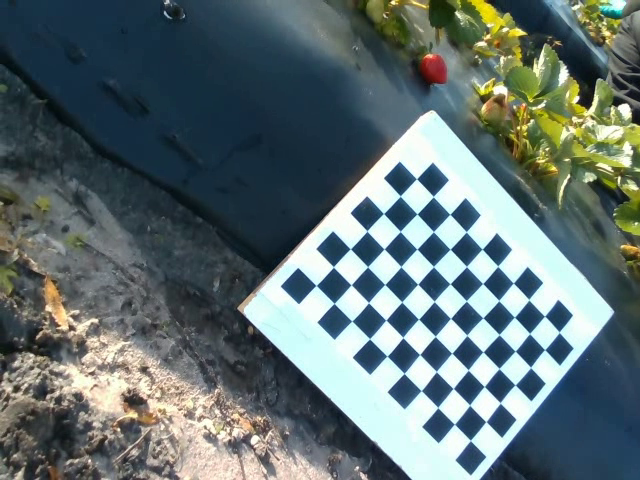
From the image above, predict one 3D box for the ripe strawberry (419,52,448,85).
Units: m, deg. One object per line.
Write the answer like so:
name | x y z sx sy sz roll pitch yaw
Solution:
ripe strawberry | 0.121 -0.174 0.617 0.030 0.045 0.033 -16 -29 -10
